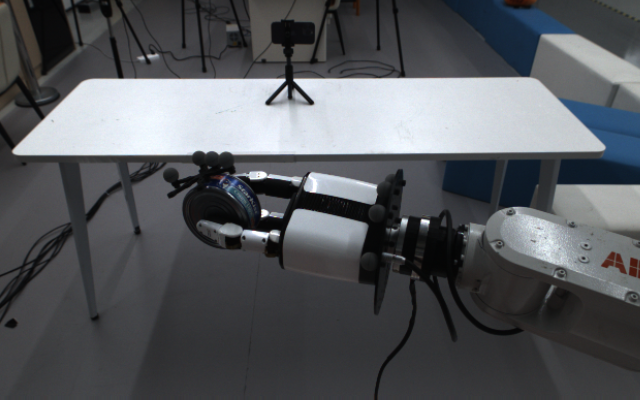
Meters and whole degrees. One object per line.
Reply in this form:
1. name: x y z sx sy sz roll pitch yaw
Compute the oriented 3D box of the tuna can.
1. tuna can: -0.109 0.020 0.554 0.085 0.085 0.034 11 34 13
